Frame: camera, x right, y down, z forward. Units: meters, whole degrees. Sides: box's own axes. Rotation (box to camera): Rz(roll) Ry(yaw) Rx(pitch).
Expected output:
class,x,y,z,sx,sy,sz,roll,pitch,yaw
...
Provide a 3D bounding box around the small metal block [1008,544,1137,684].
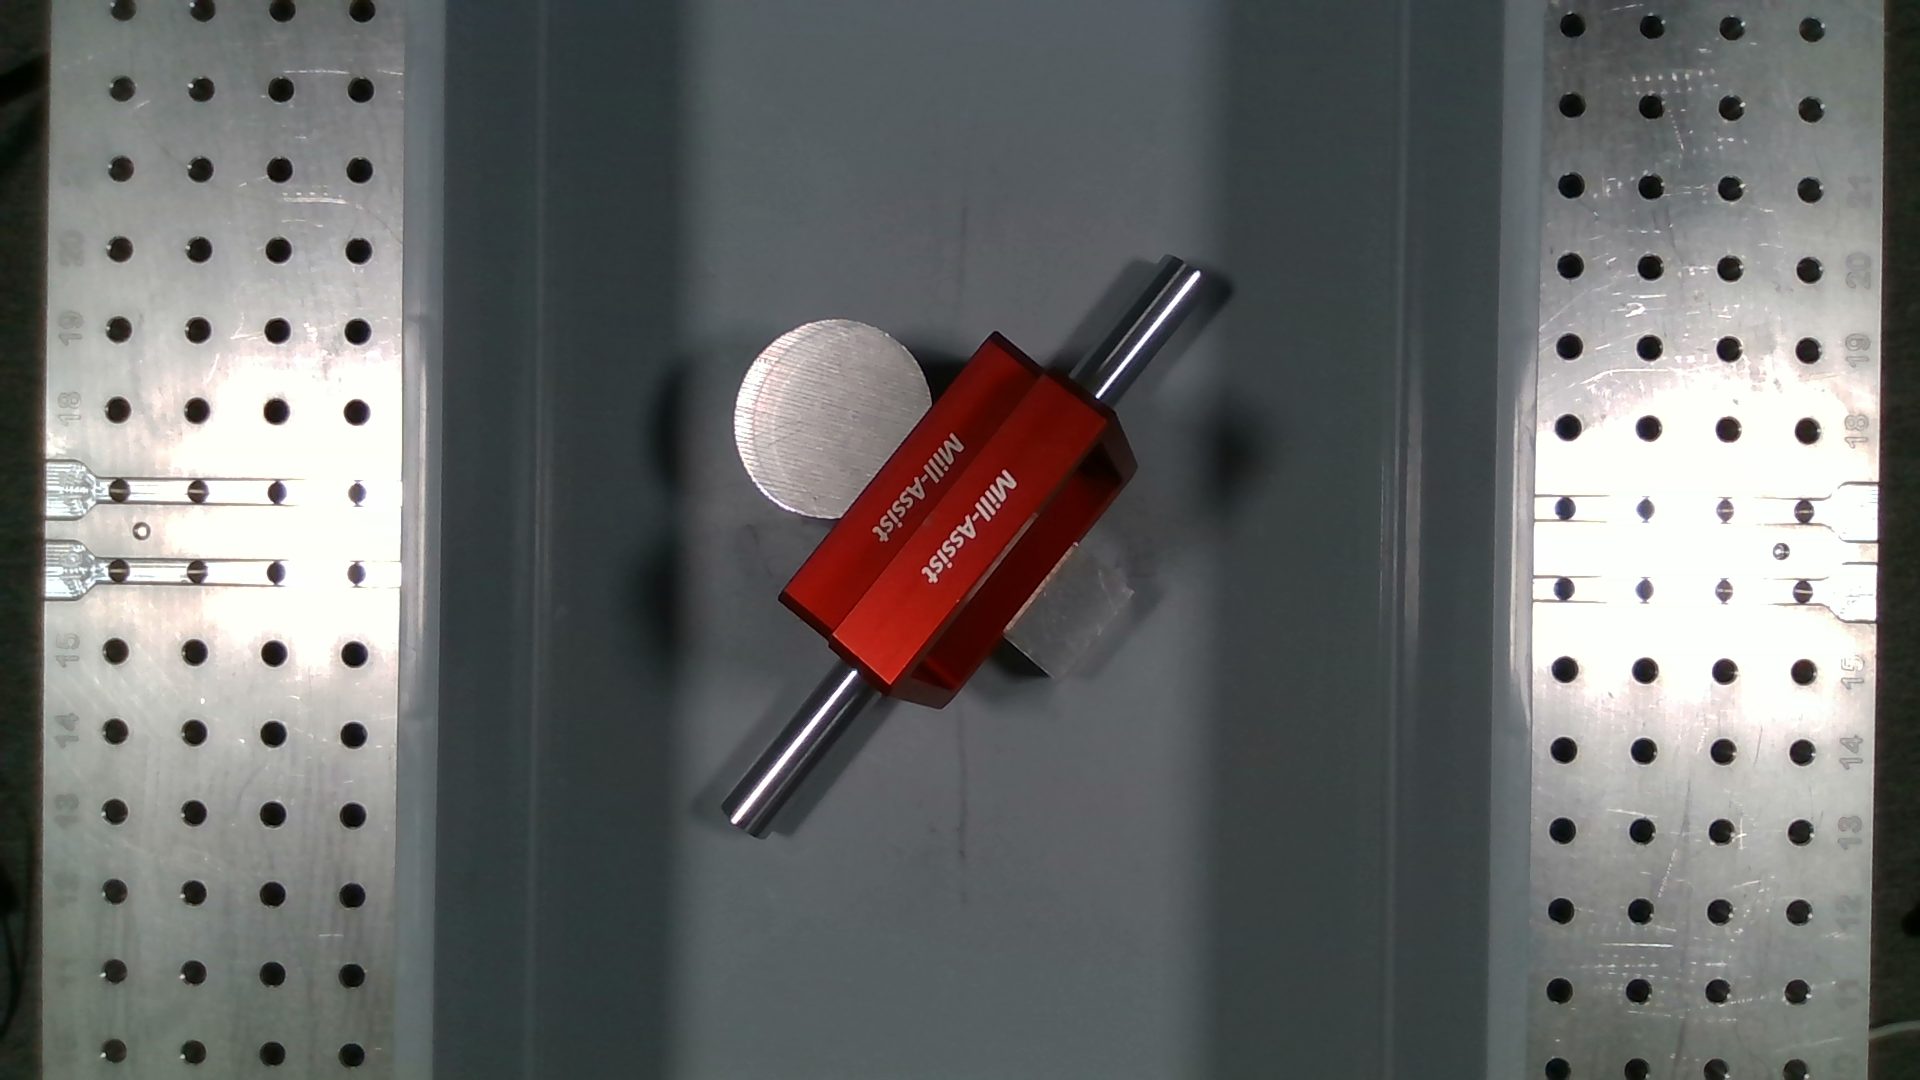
class,x,y,z,sx,sy,sz,roll,pitch,yaw
small metal block,0.038,0.025,0.586,0.050,0.025,0.050,40,90,0

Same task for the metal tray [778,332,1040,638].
class,x,y,z,sx,sy,sz,roll,pitch,yaw
metal tray,-0.016,-0.018,0.553,0.030,0.090,0.130,39,90,0

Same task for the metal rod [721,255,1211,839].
class,x,y,z,sx,sy,sz,roll,pitch,yaw
metal rod,0.002,0.003,0.587,0.025,0.025,0.300,39,90,0

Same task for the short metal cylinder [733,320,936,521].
class,x,y,z,sx,sy,sz,roll,pitch,yaw
short metal cylinder,-0.048,-0.045,0.567,0.080,0.050,0.080,-1,85,7

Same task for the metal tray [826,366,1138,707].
class,x,y,z,sx,sy,sz,roll,pitch,yaw
metal tray,0.013,0.004,0.528,0.030,0.090,0.130,39,90,17
